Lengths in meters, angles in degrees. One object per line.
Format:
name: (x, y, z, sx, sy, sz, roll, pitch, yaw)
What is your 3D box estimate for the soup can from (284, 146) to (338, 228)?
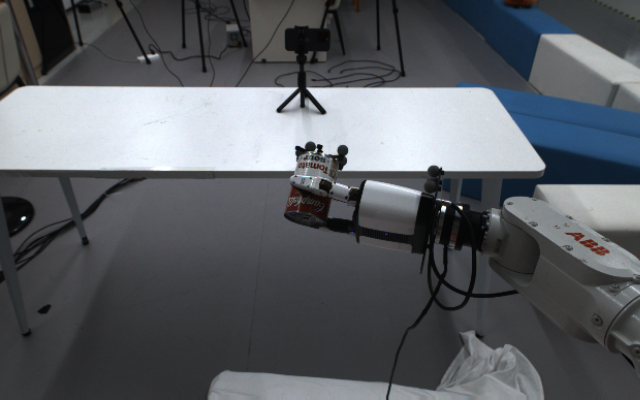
soup can: (-0.012, -0.017, 0.752, 0.067, 0.067, 0.101, 9, 72, 10)
